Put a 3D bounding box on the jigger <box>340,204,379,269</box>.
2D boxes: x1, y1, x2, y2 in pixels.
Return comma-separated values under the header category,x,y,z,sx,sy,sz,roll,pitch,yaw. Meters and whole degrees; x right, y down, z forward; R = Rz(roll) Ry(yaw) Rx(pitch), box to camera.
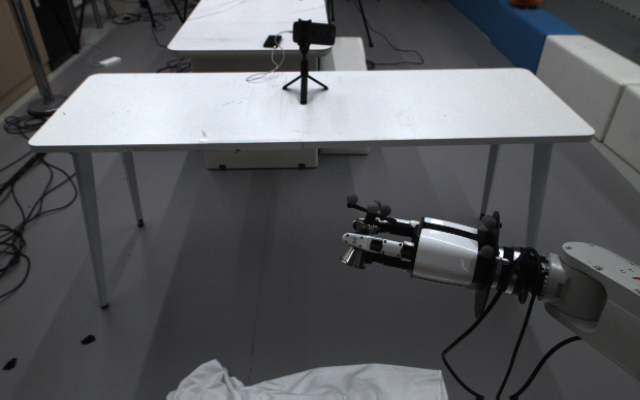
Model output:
category,x,y,z,sx,sy,sz,roll,pitch,yaw
jigger,0.060,0.065,0.742,0.043,0.071,0.043,22,6,-2
